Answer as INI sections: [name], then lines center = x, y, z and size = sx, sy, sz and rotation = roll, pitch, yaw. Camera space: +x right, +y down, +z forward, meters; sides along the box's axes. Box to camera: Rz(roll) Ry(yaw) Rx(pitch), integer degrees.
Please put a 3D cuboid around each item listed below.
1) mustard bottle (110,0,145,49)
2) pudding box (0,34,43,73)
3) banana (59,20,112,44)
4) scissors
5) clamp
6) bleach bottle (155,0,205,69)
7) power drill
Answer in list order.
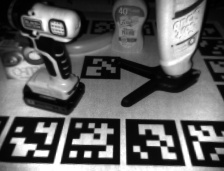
[mustard bottle]
center = 0.040, -0.196, 0.591
size = 0.096, 0.192, 0.058
rotation = 12, 45, 10
[pudding box]
center = -0.208, -0.076, 0.525
size = 0.114, 0.090, 0.038
rotation = 5, 38, 3
[banana]
center = -0.067, -0.163, 0.647
size = 0.199, 0.039, 0.073
rotation = -28, 35, -26
[scissors]
center = -0.216, -0.128, 0.485
size = 0.201, 0.016, 0.088
rotation = 23, 52, 14
[clamp]
center = 0.106, -0.043, 0.521
size = 0.203, 0.037, 0.164
rotation = -1, 47, -6
[bleach bottle]
center = 0.143, -0.128, 0.459
size = 0.103, 0.253, 0.067
rotation = -17, 43, -7
[power drill]
center = -0.153, -0.071, 0.411
size = 0.183, 0.188, 0.057
rotation = 9, 38, 12
